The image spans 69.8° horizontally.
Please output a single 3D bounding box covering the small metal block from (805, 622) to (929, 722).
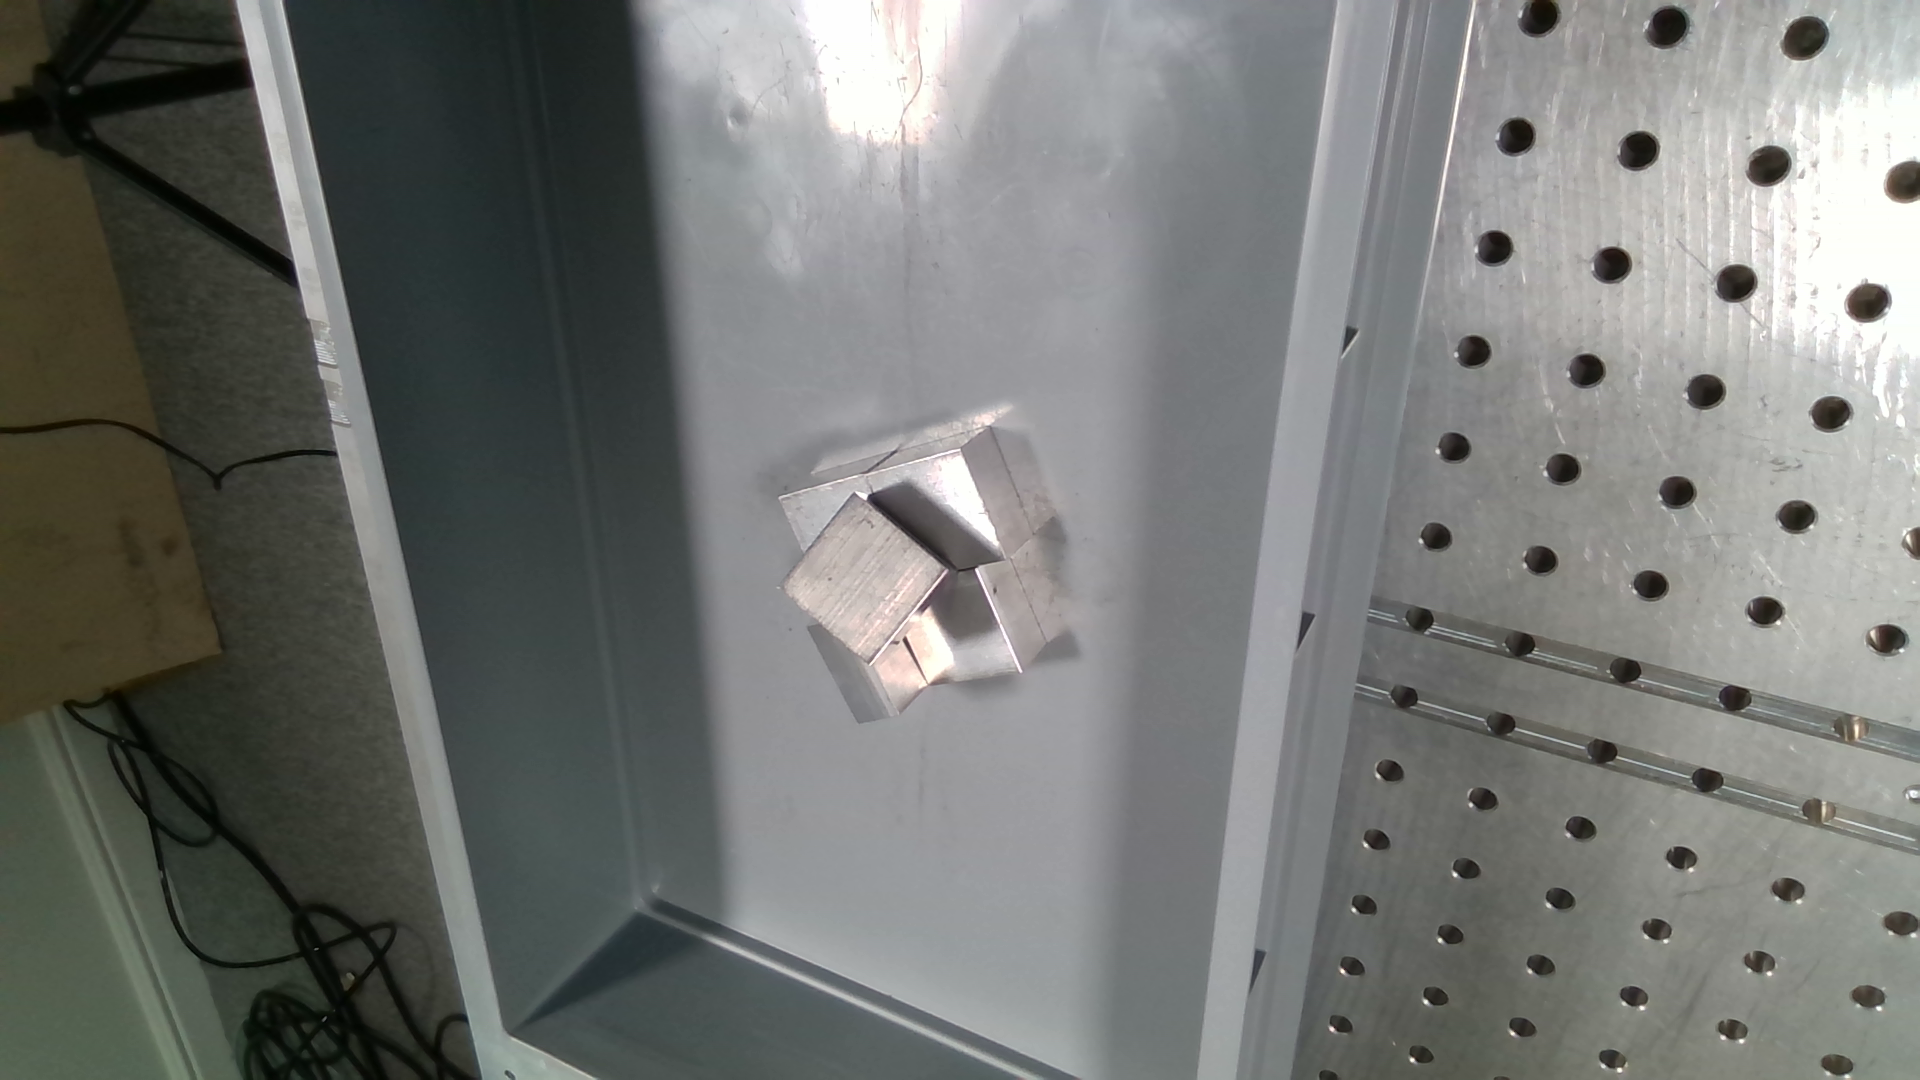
[{"bbox_3d":[-0.034,0.044,0.608,0.025,0.050,0.050,-16,107,37],"label":"small metal block"}]

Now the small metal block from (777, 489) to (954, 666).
[{"bbox_3d":[-0.037,0.015,0.561,0.050,0.025,0.050,39,94,7],"label":"small metal block"}]

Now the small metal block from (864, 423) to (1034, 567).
[{"bbox_3d":[-0.004,-0.016,0.573,0.050,0.025,0.050,-12,108,36],"label":"small metal block"}]

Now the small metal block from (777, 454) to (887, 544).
[{"bbox_3d":[-0.044,-0.007,0.602,0.050,0.025,0.050,-12,108,36],"label":"small metal block"}]

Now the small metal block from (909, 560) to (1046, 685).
[{"bbox_3d":[0.003,0.032,0.595,0.050,0.025,0.050,-12,108,36],"label":"small metal block"}]
